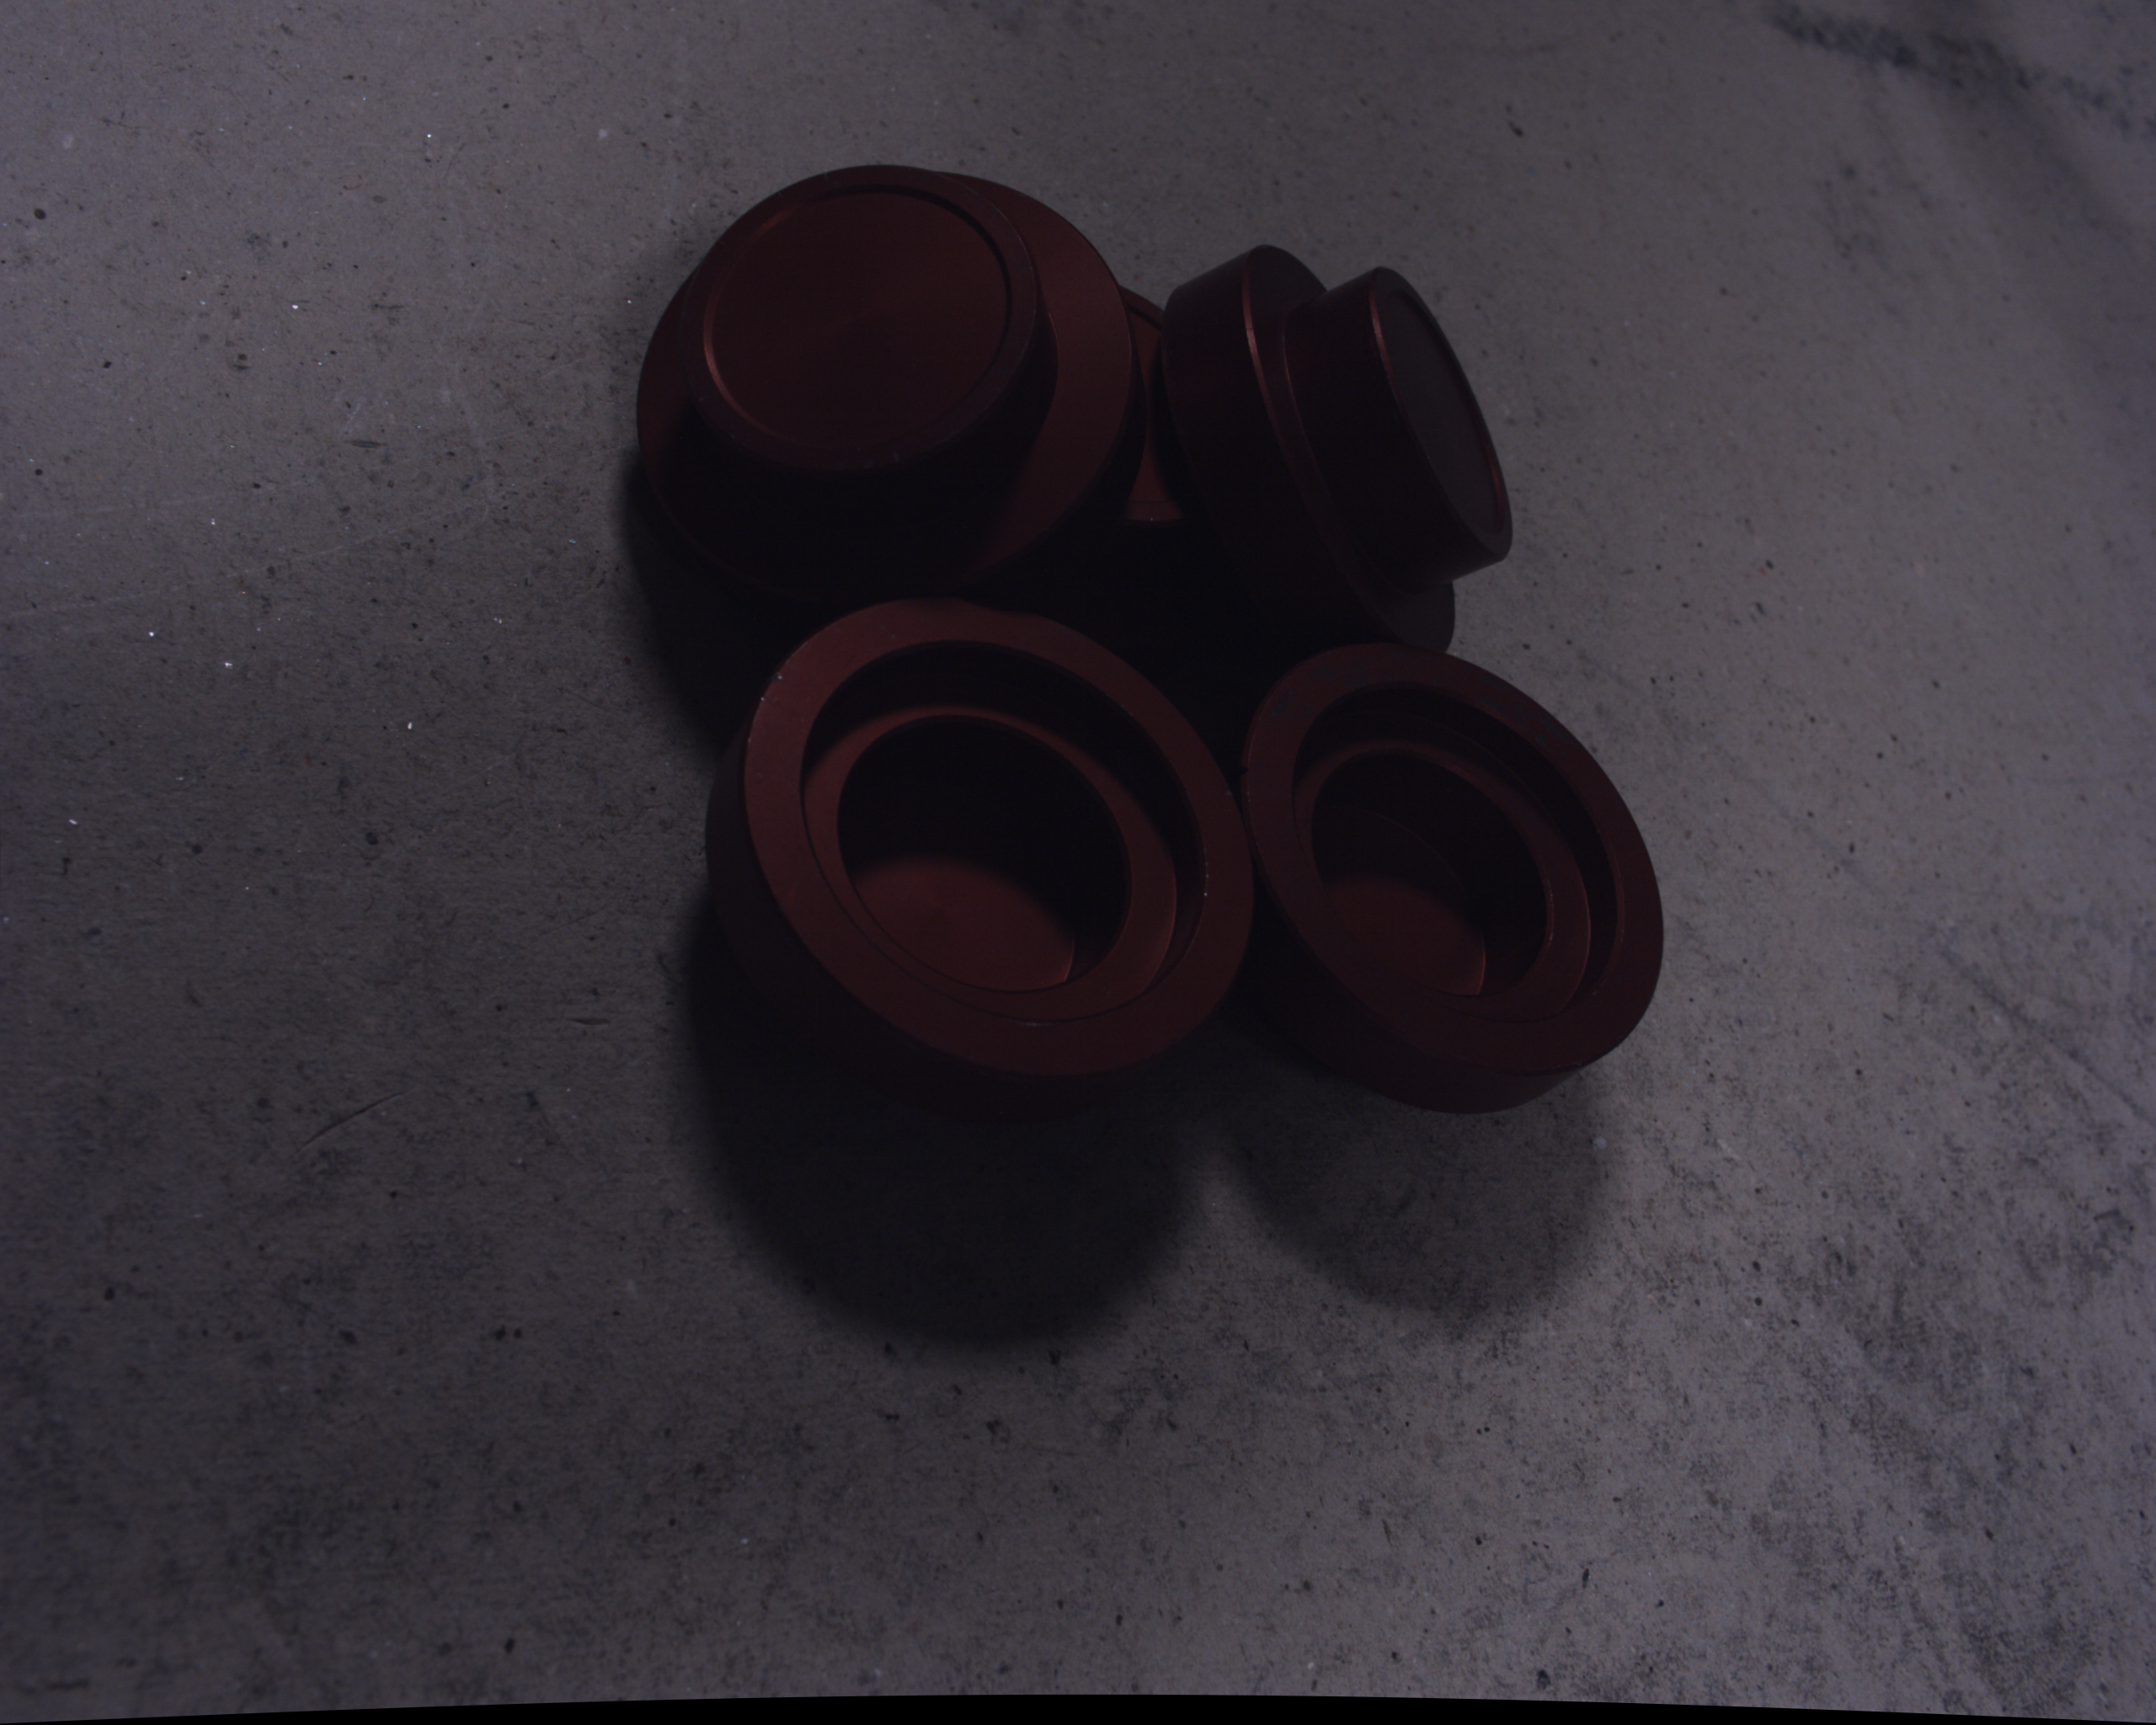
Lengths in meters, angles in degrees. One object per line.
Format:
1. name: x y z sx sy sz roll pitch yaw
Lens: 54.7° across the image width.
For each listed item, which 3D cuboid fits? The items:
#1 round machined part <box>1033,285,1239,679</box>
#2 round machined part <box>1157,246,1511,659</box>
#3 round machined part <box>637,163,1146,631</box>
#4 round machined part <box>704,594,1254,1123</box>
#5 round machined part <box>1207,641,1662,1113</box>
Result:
1. round machined part: -0.003 -0.088 0.447 0.099 0.042 0.098 14 56 -21
2. round machined part: 0.061 -0.090 0.456 0.098 0.042 0.098 41 38 -42
3. round machined part: -0.037 -0.094 0.402 0.099 0.042 0.098 -2 69 6
4. round machined part: -0.021 0.003 0.383 0.099 0.042 0.098 14 56 -21
5. round machined part: 0.067 0.006 0.428 0.099 0.042 0.098 14 56 -21
